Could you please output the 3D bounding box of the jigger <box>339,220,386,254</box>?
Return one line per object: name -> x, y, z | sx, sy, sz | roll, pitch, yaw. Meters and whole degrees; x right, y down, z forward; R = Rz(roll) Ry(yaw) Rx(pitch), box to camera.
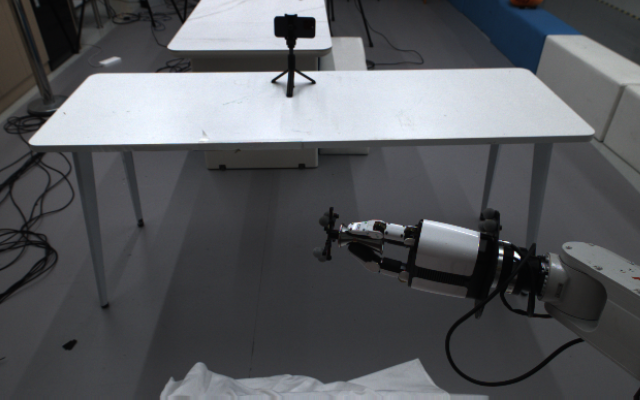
jigger -> 0.072, 0.055, 0.752 | 0.071, 0.043, 0.043 | 7, 35, 11
